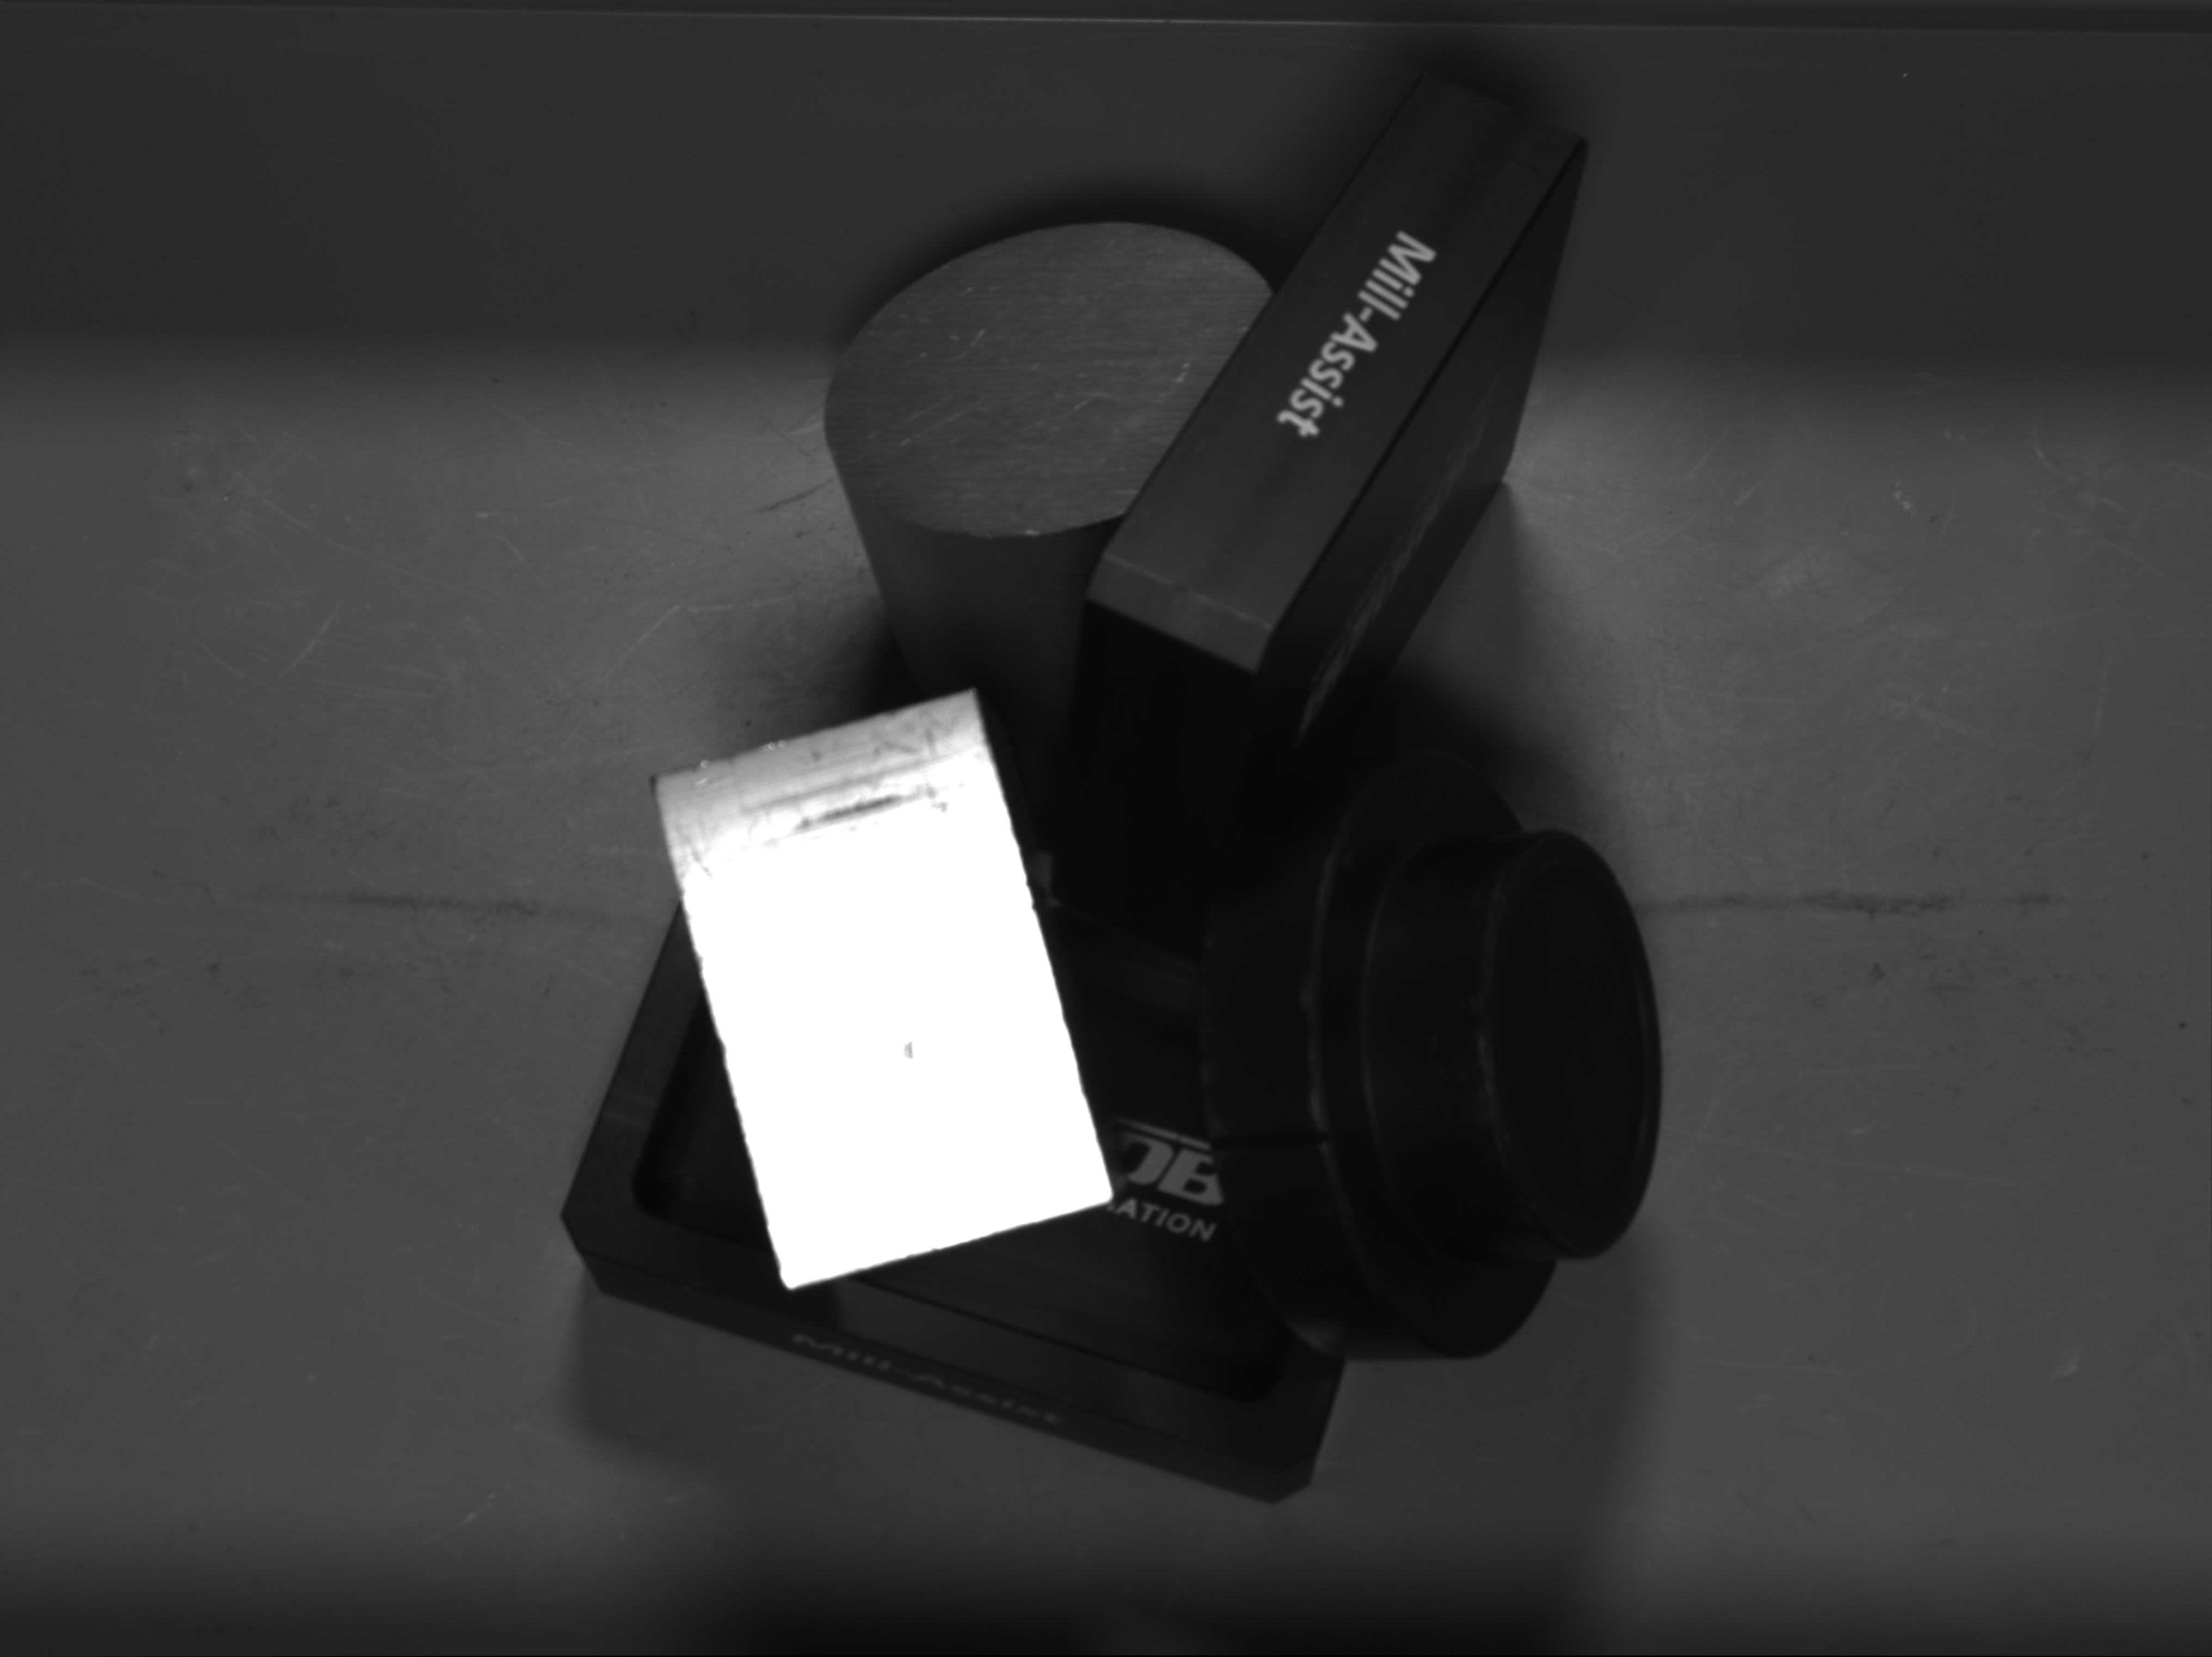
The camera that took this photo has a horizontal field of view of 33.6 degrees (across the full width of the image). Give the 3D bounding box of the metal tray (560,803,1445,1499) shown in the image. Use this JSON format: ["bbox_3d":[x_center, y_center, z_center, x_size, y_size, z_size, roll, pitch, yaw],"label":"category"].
[{"bbox_3d":[-0.016,0.051,0.621,0.130,0.030,0.090,16,71,6],"label":"metal tray"}]

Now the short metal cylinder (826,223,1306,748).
[{"bbox_3d":[-0.004,-0.060,0.637,0.080,0.050,0.080,-8,46,8],"label":"short metal cylinder"}]

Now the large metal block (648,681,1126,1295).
[{"bbox_3d":[-0.032,0.026,0.580,0.050,0.080,0.080,-16,86,1],"label":"large metal block"}]

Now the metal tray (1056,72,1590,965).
[{"bbox_3d":[0.036,-0.052,0.612,0.030,0.090,0.130,24,56,12],"label":"metal tray"}]

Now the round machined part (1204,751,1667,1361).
[{"bbox_3d":[0.058,0.036,0.588,0.042,0.098,0.098,-6,67,30],"label":"round machined part"}]
